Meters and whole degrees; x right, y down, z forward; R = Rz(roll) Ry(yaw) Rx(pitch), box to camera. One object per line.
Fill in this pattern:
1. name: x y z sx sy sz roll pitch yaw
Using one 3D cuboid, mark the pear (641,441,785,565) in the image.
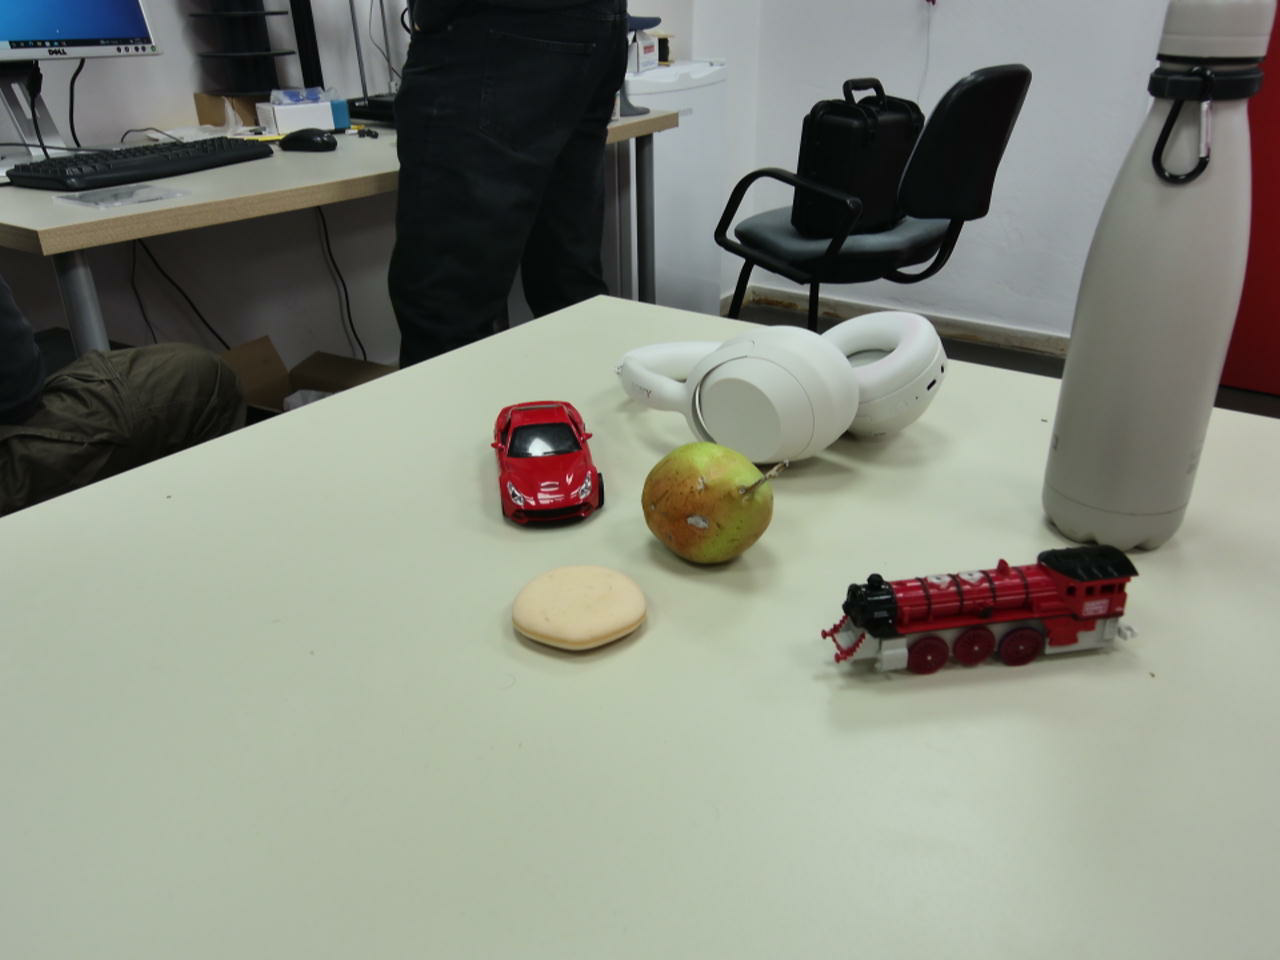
1. pear: 0.035 0.010 0.524 0.068 0.069 0.070 -2 24 -2
